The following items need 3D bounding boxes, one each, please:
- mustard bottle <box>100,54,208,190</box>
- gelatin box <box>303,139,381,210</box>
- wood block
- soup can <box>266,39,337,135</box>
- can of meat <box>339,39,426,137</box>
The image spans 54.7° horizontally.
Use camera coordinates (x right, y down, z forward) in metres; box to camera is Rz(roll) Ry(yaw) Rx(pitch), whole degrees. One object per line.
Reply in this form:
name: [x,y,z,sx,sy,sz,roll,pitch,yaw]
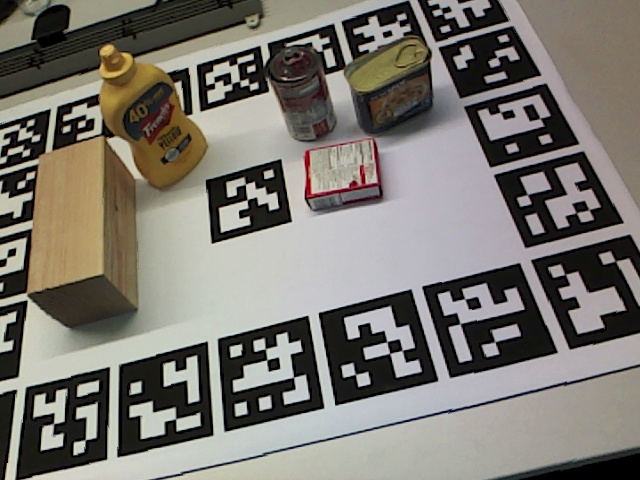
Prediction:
mustard bottle: [-0.214,-0.150,0.763,0.096,0.190,0.059,-35,56,-10]
gelatin box: [0.026,-0.077,0.736,0.089,0.030,0.073,-7,59,14]
wood block: [-0.282,-0.015,0.751,0.091,0.089,0.207,-13,52,5]
soup can: [-0.021,-0.188,0.771,0.068,0.101,0.068,-7,58,11]
can of meat: [0.080,-0.185,0.763,0.102,0.083,0.058,-25,56,-4]
